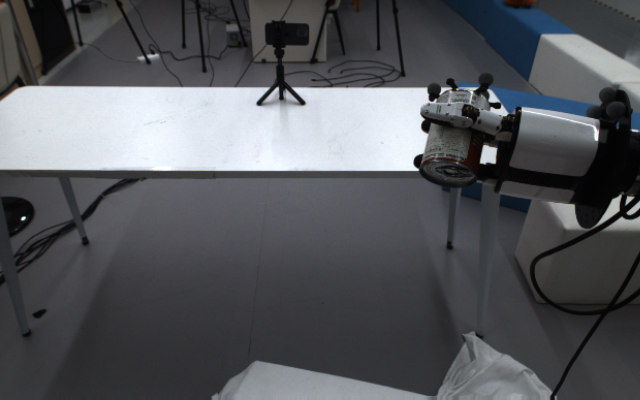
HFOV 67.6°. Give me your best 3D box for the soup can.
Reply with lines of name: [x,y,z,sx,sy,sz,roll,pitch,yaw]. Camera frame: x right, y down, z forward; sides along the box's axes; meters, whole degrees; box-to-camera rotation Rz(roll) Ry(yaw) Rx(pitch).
soup can: [0.165,-0.077,0.591,0.067,0.067,0.101,12,70,14]
